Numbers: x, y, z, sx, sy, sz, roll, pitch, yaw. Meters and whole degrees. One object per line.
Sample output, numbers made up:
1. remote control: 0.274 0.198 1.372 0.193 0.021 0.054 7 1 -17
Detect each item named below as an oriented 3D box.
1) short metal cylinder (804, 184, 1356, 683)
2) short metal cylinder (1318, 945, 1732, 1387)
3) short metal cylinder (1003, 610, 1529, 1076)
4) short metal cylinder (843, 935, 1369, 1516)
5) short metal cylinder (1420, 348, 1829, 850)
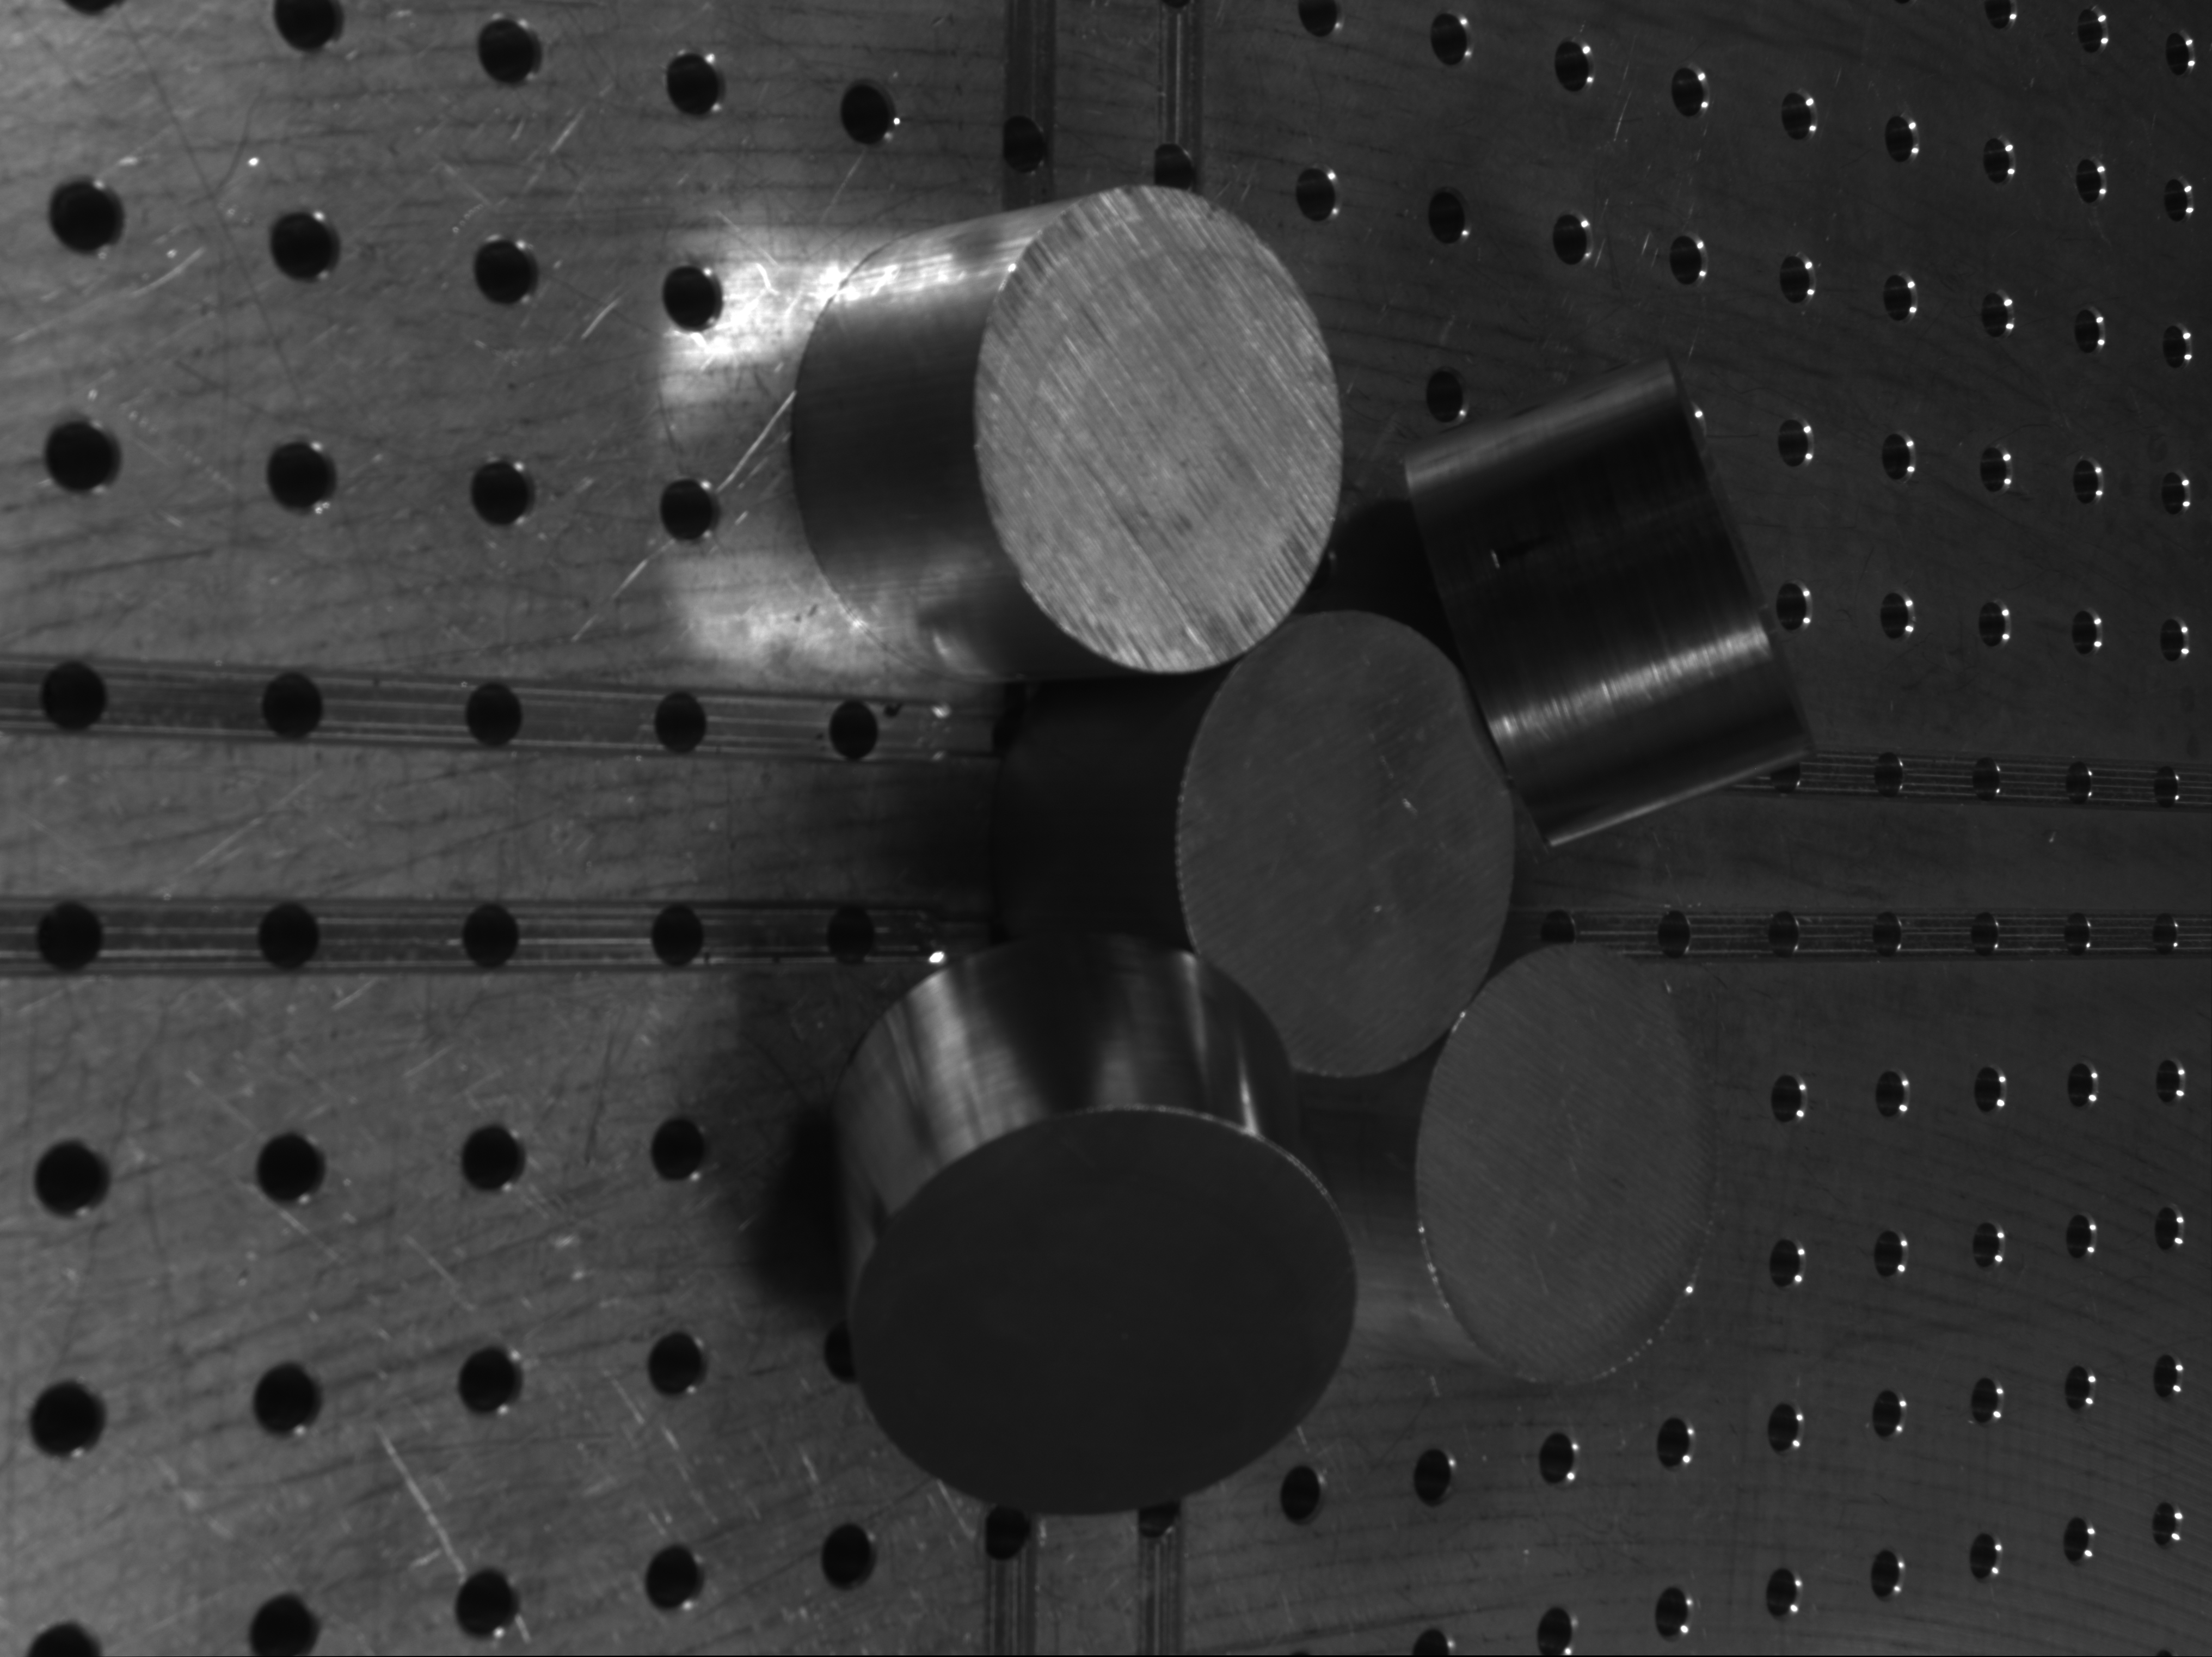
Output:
1. short metal cylinder: -0.004 -0.066 0.621 0.080 0.050 0.080 0 90 -40
2. short metal cylinder: 0.071 0.061 0.683 0.080 0.050 0.080 0 90 -40
3. short metal cylinder: 0.029 0.003 0.648 0.080 0.050 0.080 0 90 -40
4. short metal cylinder: -0.002 0.065 0.596 0.080 0.050 0.080 -4 121 -7
5. short metal cylinder: 0.096 -0.042 0.678 0.080 0.050 0.080 -20 90 -78
